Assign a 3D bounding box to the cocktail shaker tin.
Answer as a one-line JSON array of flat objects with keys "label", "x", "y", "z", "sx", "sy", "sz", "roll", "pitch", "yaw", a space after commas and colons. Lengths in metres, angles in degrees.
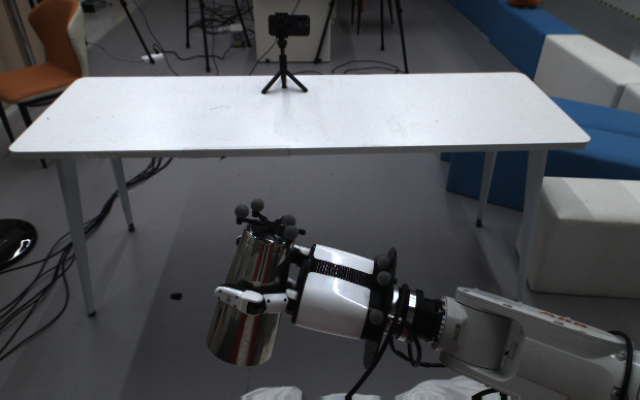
[{"label": "cocktail shaker tin", "x": -0.085, "y": 0.117, "z": 0.631, "sx": 0.093, "sy": 0.170, "sz": 0.093, "roll": 15, "pitch": 17, "yaw": -5}]
